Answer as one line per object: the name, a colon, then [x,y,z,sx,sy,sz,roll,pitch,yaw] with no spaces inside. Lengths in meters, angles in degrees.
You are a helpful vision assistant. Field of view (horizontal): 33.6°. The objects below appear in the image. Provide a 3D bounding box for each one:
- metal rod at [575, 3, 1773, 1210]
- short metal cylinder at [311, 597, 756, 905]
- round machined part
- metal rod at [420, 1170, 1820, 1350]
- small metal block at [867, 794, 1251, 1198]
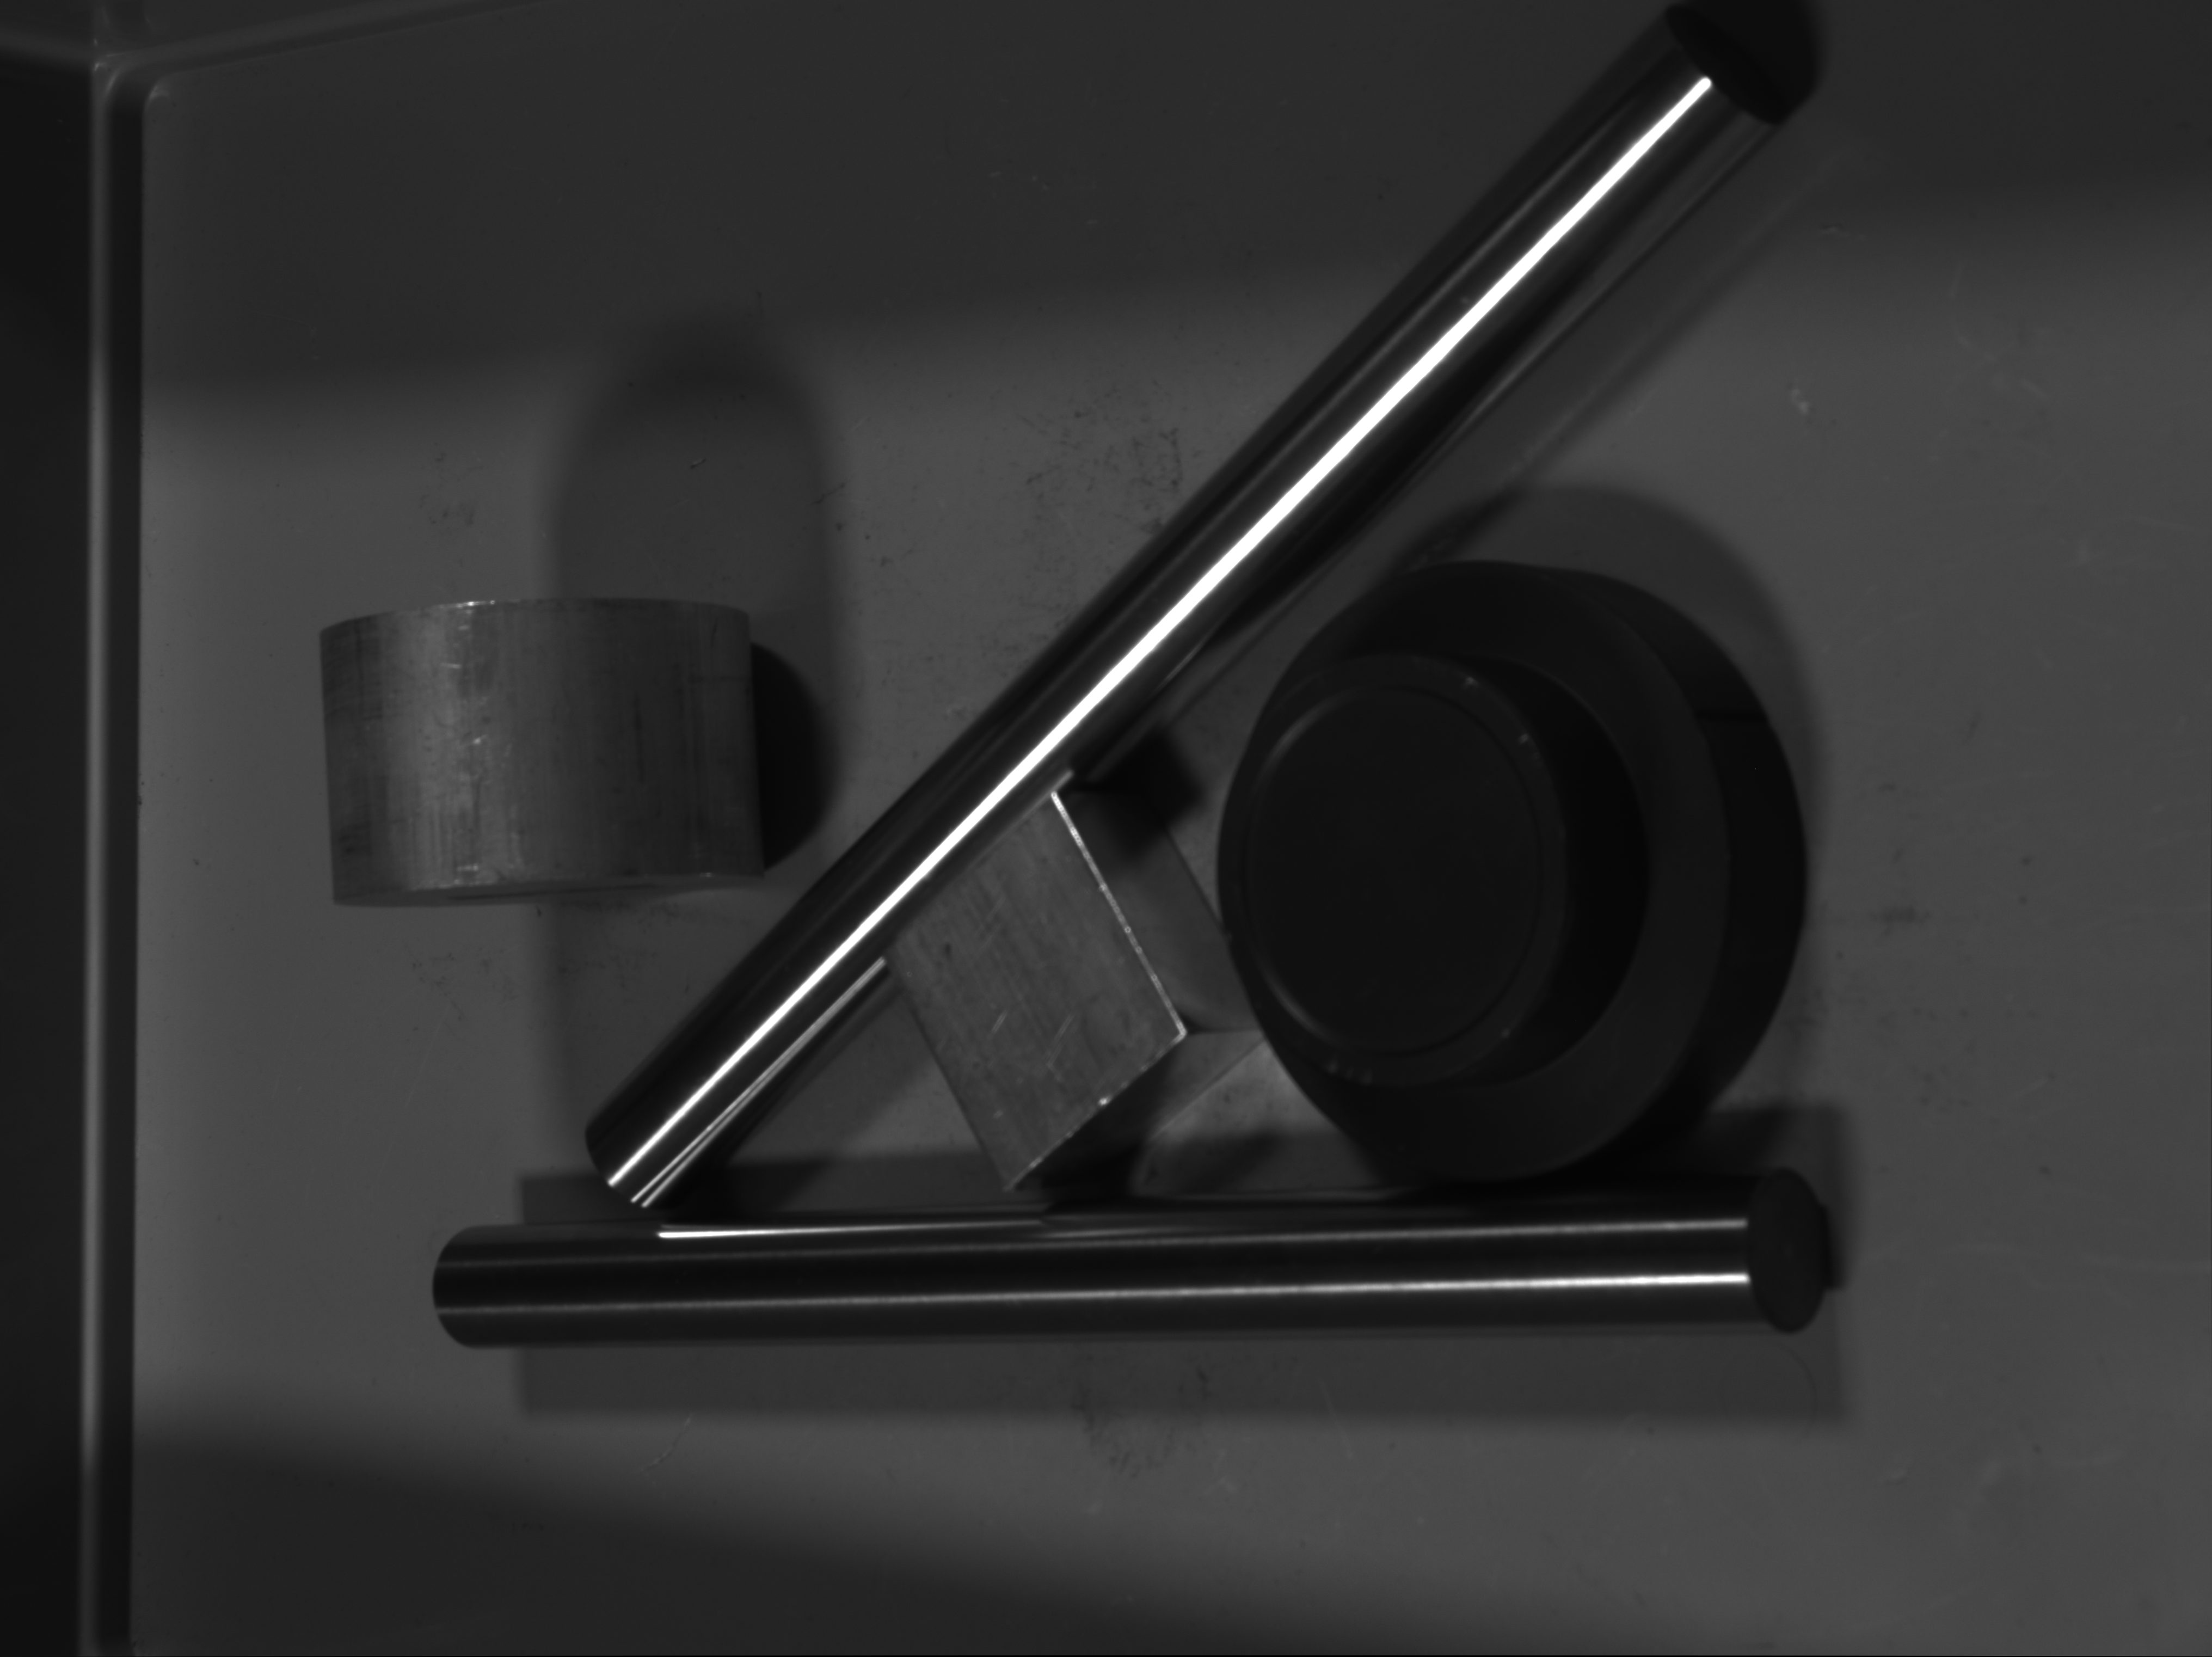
metal rod: [0.000,-0.027,0.635,0.300,0.025,0.025,-44,64,30]
short metal cylinder: [-0.107,-0.013,0.688,0.080,0.080,0.050,-7,86,39]
round machined part: [0.054,0.007,0.578,0.098,0.042,0.098,0,90,39]
metal rod: [-0.014,0.078,0.646,0.299,0.025,0.025,-7,85,39]
small metal block: [-0.008,0.029,0.640,0.050,0.025,0.050,-43,64,31]
